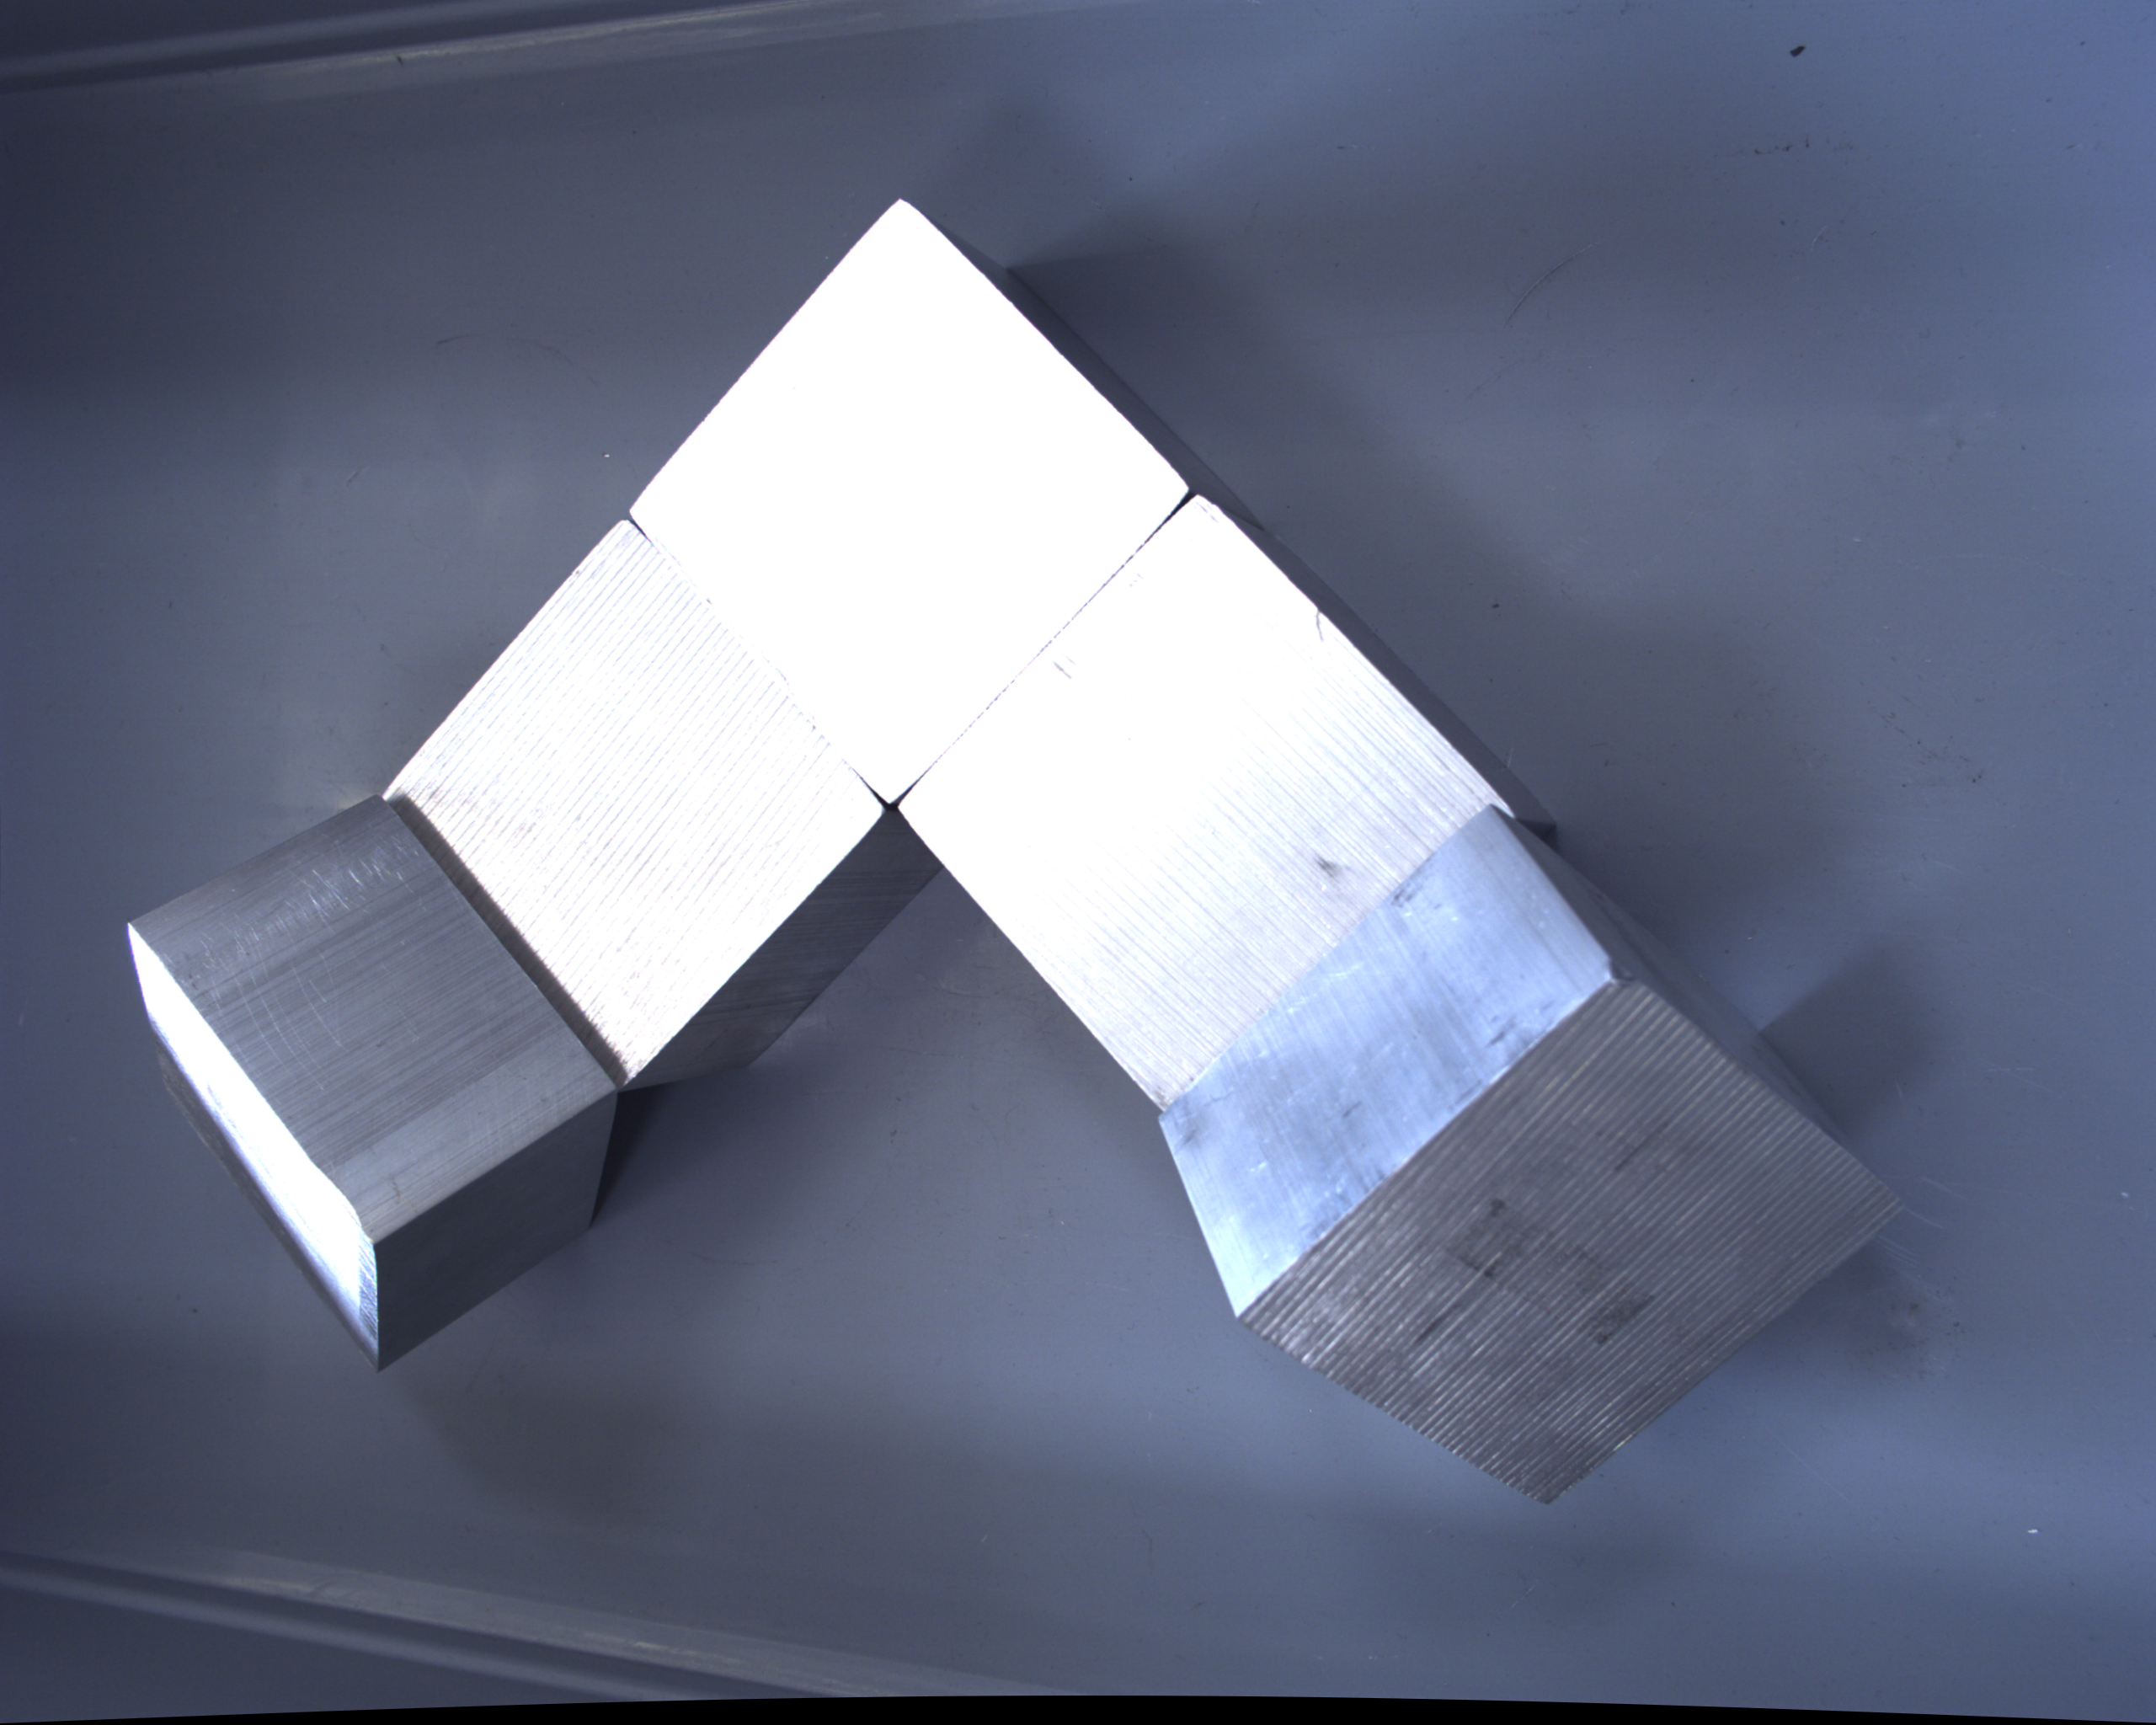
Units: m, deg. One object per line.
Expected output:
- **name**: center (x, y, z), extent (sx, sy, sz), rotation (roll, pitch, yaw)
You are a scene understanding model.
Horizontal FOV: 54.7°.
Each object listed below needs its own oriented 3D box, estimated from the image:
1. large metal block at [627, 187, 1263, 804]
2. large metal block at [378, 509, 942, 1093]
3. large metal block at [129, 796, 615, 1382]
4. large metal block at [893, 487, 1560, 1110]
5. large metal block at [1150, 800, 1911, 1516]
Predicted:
- **large metal block**: center (-0.024, -0.067, 0.404), extent (0.080, 0.050, 0.080), rotation (-46, 76, 14)
- **large metal block**: center (-0.079, -0.012, 0.423), extent (0.080, 0.050, 0.080), rotation (-46, 76, 14)
- **large metal block**: center (-0.142, 0.047, 0.423), extent (0.080, 0.050, 0.080), rotation (48, 147, 13)
- **large metal block**: center (0.028, -0.009, 0.385), extent (0.080, 0.050, 0.080), rotation (-46, 76, 14)
- **large metal block**: center (0.073, 0.050, 0.347), extent (0.080, 0.050, 0.080), rotation (36, 106, -29)
